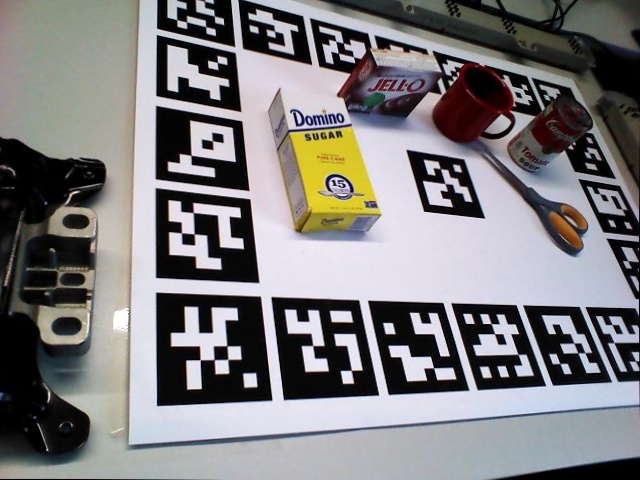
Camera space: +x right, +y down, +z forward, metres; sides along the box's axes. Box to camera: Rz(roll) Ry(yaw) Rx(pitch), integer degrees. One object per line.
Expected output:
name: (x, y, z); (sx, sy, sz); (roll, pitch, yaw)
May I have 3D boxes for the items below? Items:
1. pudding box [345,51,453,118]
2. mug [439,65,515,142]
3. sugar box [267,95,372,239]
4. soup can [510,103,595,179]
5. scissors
pudding box: (0.103, -0.204, 0.688); (0.113, 0.090, 0.038); (-5, 72, -28)
mug: (0.236, -0.190, 0.753); (0.092, 0.082, 0.117); (-35, 81, -33)
sugar box: (-0.003, -0.087, 0.609); (0.092, 0.045, 0.175); (1, 65, -23)
soup can: (0.347, -0.147, 0.779); (0.068, 0.103, 0.067); (11, 58, -19)
scissors: (0.324, -0.048, 0.756); (0.203, 0.016, 0.087); (46, 64, 2)
